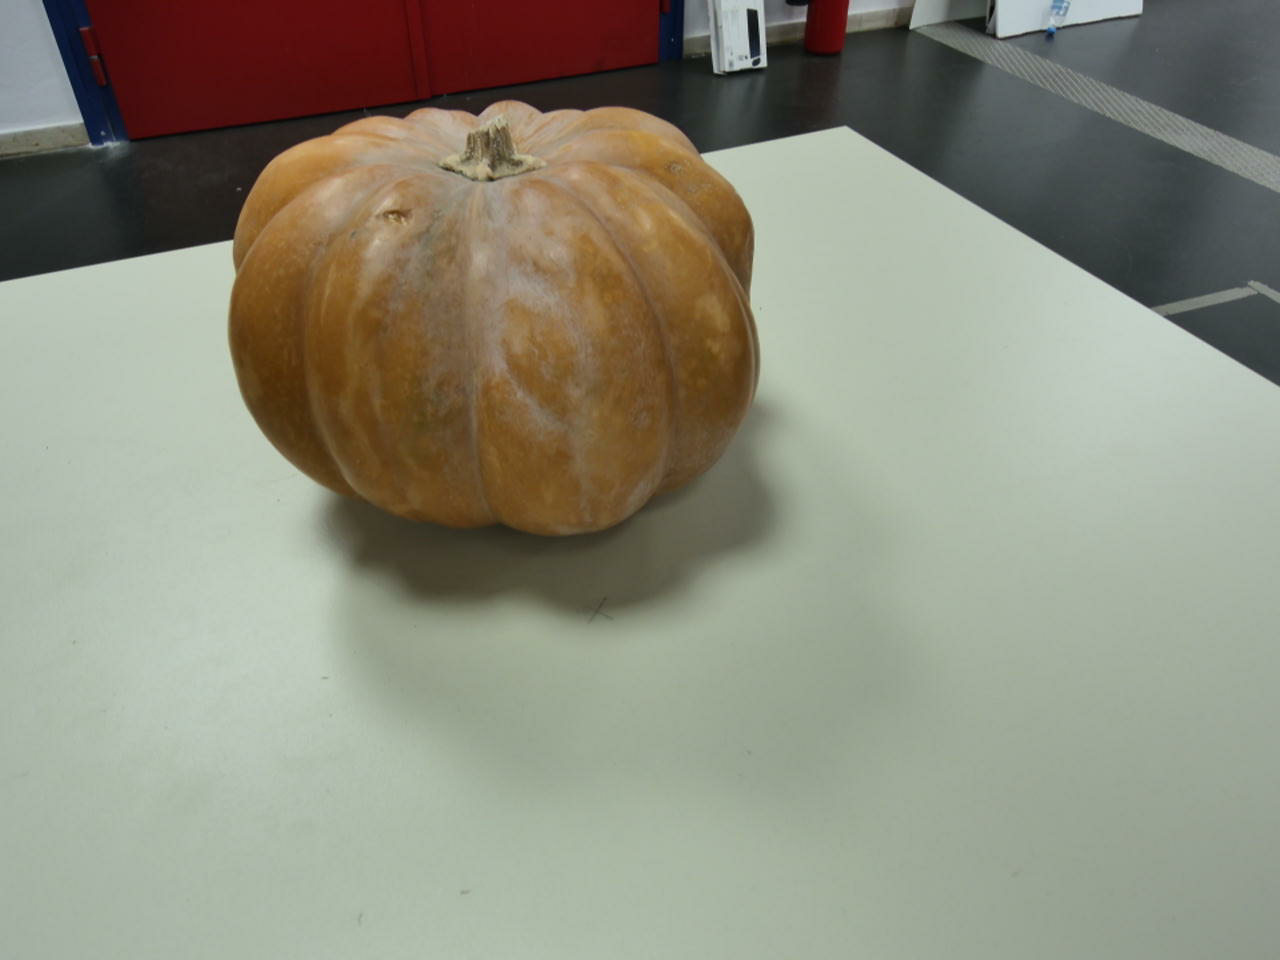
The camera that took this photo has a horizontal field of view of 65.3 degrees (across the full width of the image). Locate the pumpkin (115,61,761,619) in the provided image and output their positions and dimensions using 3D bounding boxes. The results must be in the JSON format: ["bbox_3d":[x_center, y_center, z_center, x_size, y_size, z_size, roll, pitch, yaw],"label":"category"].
[{"bbox_3d":[-0.067,-0.087,0.499,0.277,0.181,0.277,0,39,0],"label":"pumpkin"}]
